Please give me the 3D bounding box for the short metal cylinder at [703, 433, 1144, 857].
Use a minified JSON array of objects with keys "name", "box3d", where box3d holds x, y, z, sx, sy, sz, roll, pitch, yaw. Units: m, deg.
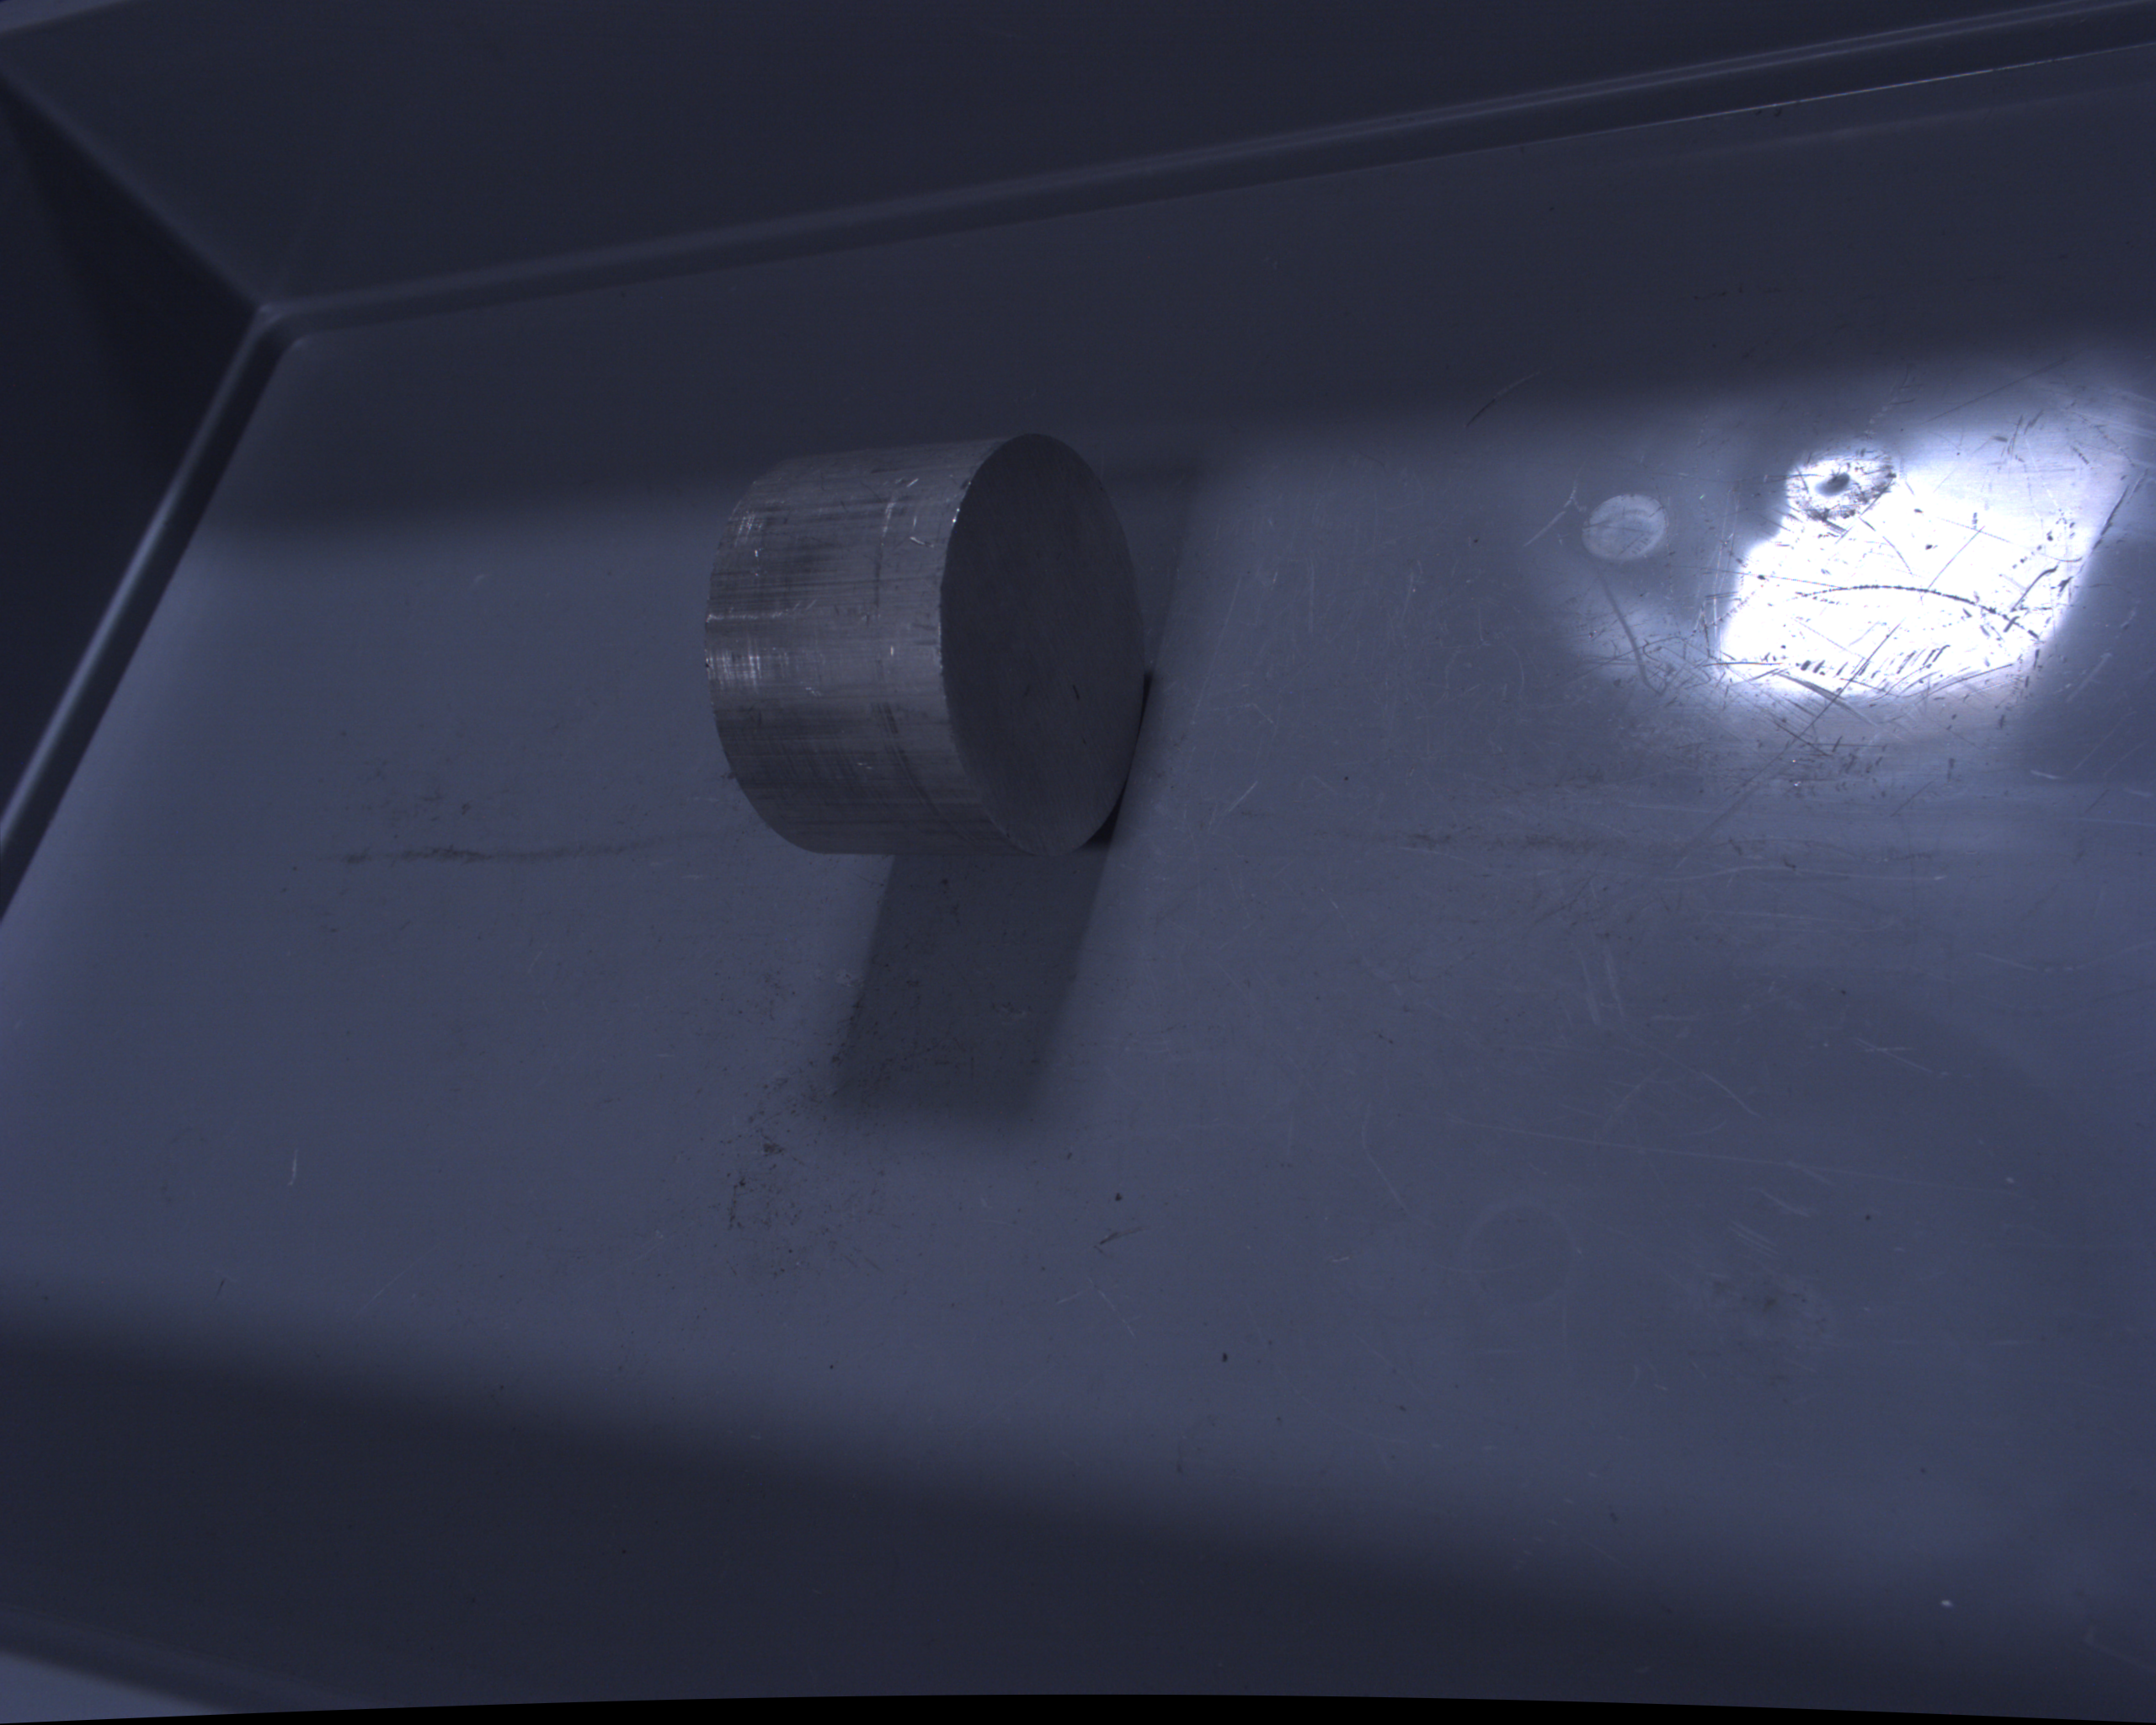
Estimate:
[{"name":"short metal cylinder","box3d":[-0.028,-0.041,0.406,0.050,0.080,0.080,0,62,28]}]
